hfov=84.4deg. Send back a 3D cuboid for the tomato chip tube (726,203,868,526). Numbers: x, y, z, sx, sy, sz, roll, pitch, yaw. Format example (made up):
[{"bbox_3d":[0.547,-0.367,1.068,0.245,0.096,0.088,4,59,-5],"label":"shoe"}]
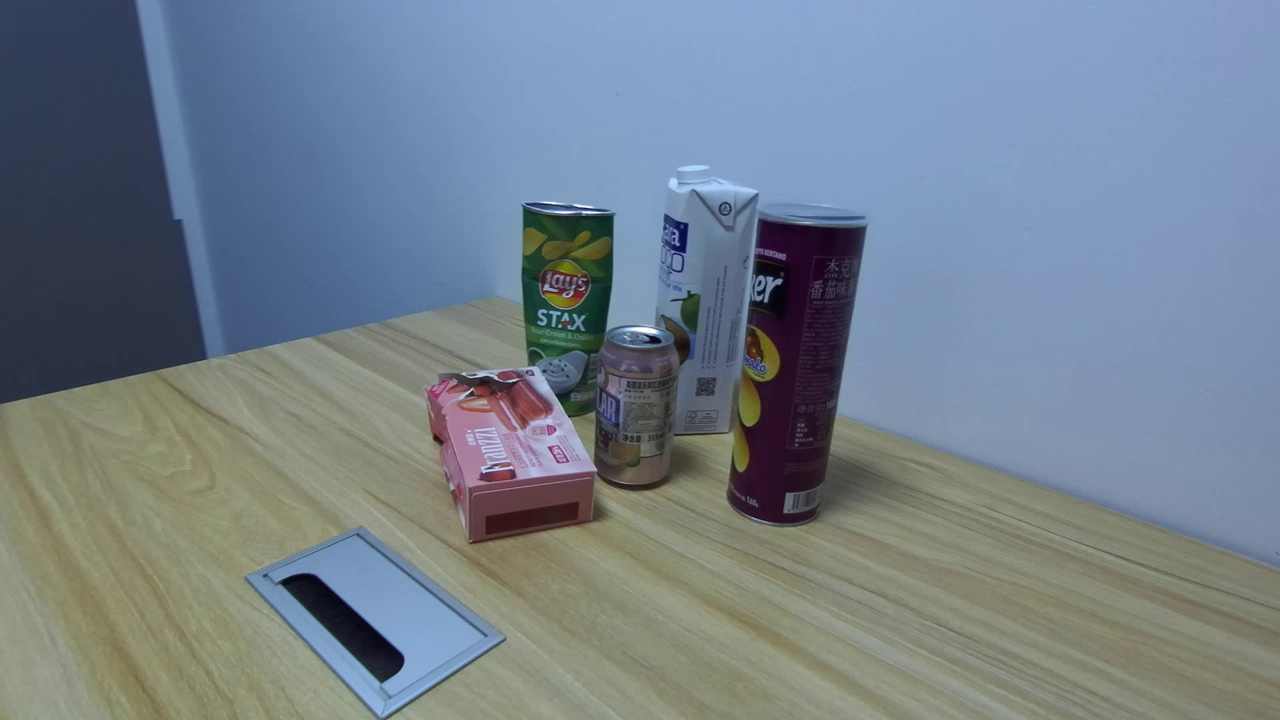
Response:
[{"bbox_3d":[0.115,0.006,0.531,0.078,0.234,0.078,3,21,-1],"label":"tomato chip tube"}]

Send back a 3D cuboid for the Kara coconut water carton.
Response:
[{"bbox_3d":[0.058,-0.054,0.660,0.075,0.245,0.077,0,21,-12],"label":"Kara coconut water carton"}]

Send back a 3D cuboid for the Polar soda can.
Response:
[{"bbox_3d":[-0.003,0.038,0.586,0.067,0.125,0.067,3,20,-1],"label":"Polar soda can"}]

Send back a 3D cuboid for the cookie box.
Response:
[{"bbox_3d":[-0.109,0.067,0.580,0.105,0.059,0.185,-8,25,-22],"label":"cookie box"}]

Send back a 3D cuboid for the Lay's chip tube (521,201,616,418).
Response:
[{"bbox_3d":[-0.071,-0.049,0.691,0.075,0.199,0.068,-6,23,-22],"label":"Lay's chip tube"}]
